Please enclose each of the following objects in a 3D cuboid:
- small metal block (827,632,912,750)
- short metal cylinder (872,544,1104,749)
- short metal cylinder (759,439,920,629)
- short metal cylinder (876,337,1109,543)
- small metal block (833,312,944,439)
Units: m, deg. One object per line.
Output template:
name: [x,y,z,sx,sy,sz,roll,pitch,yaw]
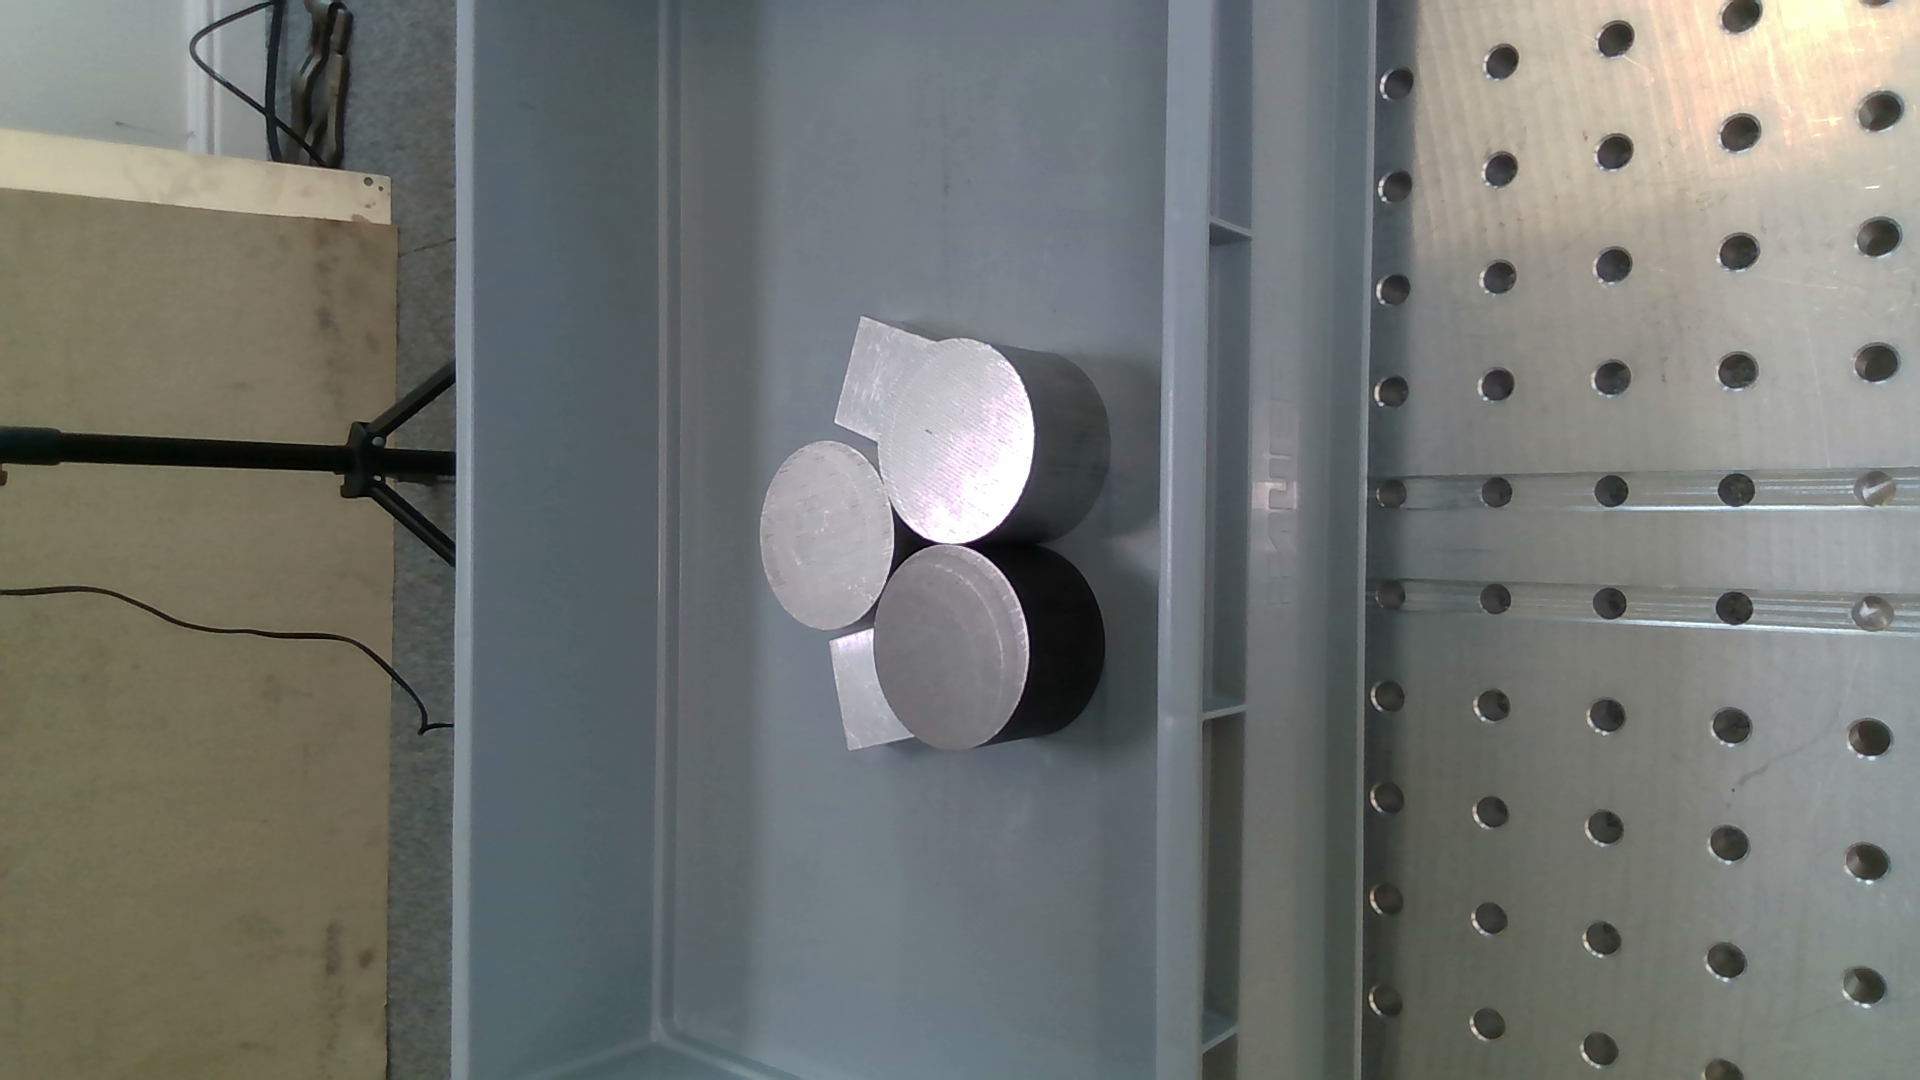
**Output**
small metal block: [-0.028,0.063,0.606,0.050,0.025,0.050,-18,79,39]
short metal cylinder: [0.011,0.041,0.556,0.080,0.050,0.080,0,91,40]
short metal cylinder: [-0.042,-0.003,0.600,0.080,0.050,0.080,0,91,40]
short metal cylinder: [0.013,-0.039,0.553,0.080,0.050,0.080,0,91,40]
small metal block: [-0.024,-0.067,0.601,0.050,0.025,0.050,26,107,37]
